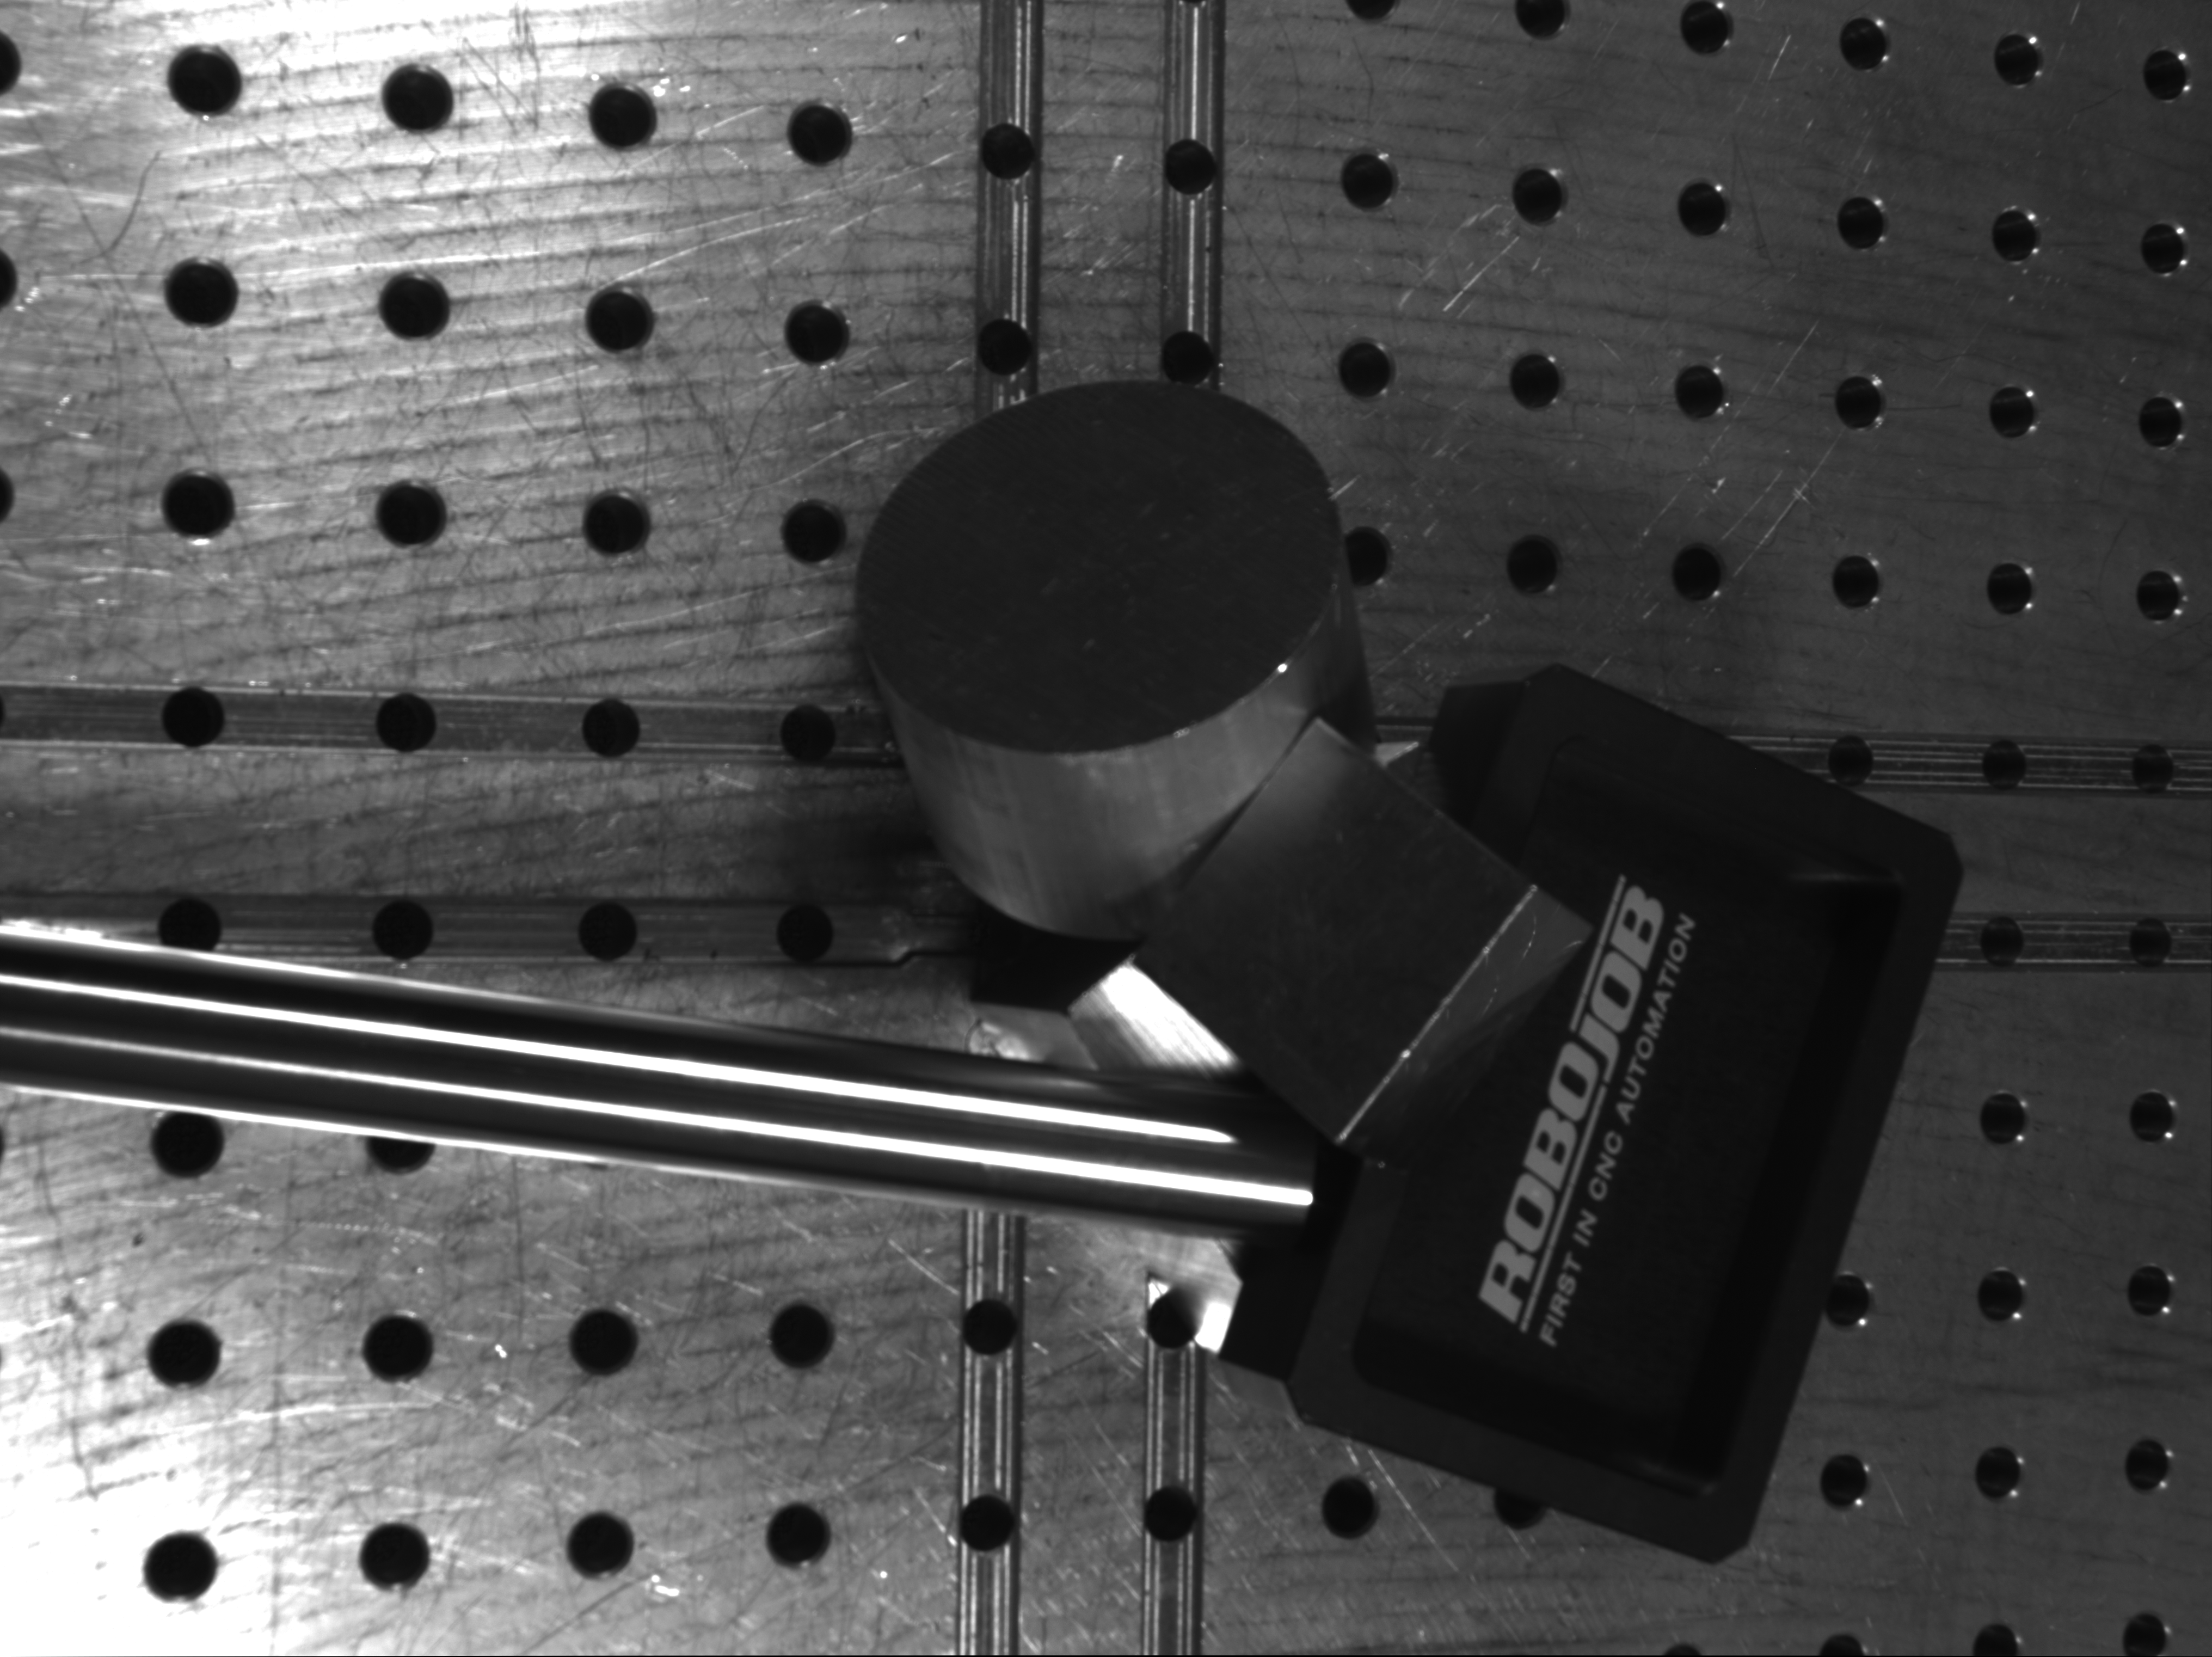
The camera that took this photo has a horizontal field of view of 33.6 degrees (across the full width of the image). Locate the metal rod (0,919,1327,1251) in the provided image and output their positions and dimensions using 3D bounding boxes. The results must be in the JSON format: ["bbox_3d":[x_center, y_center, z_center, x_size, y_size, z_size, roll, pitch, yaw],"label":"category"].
[{"bbox_3d":[-0.114,0.035,0.573,0.300,0.025,0.025,8,87,-8],"label":"metal rod"}]

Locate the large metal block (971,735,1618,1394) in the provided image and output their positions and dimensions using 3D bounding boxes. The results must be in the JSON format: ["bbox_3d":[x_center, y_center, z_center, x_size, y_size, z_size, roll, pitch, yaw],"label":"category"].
[{"bbox_3d":[0.037,0.040,0.645,0.080,0.050,0.080,-37,102,-16],"label":"large metal block"}]

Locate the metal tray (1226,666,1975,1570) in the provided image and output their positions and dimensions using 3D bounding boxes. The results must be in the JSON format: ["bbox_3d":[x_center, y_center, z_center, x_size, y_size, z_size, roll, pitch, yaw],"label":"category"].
[{"bbox_3d":[0.084,0.048,0.617,0.090,0.030,0.130,22,83,-18],"label":"metal tray"}]

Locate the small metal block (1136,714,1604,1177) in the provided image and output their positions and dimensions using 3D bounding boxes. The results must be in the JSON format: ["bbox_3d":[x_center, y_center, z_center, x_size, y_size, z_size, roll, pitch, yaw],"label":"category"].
[{"bbox_3d":[0.042,0.019,0.584,0.050,0.050,0.025,-53,147,5],"label":"small metal block"}]

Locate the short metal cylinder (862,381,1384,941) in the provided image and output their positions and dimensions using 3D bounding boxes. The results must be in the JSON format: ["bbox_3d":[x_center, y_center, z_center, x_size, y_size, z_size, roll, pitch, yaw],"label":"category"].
[{"bbox_3d":[0.004,-0.028,0.612,0.080,0.080,0.050,-36,144,-16],"label":"short metal cylinder"}]
